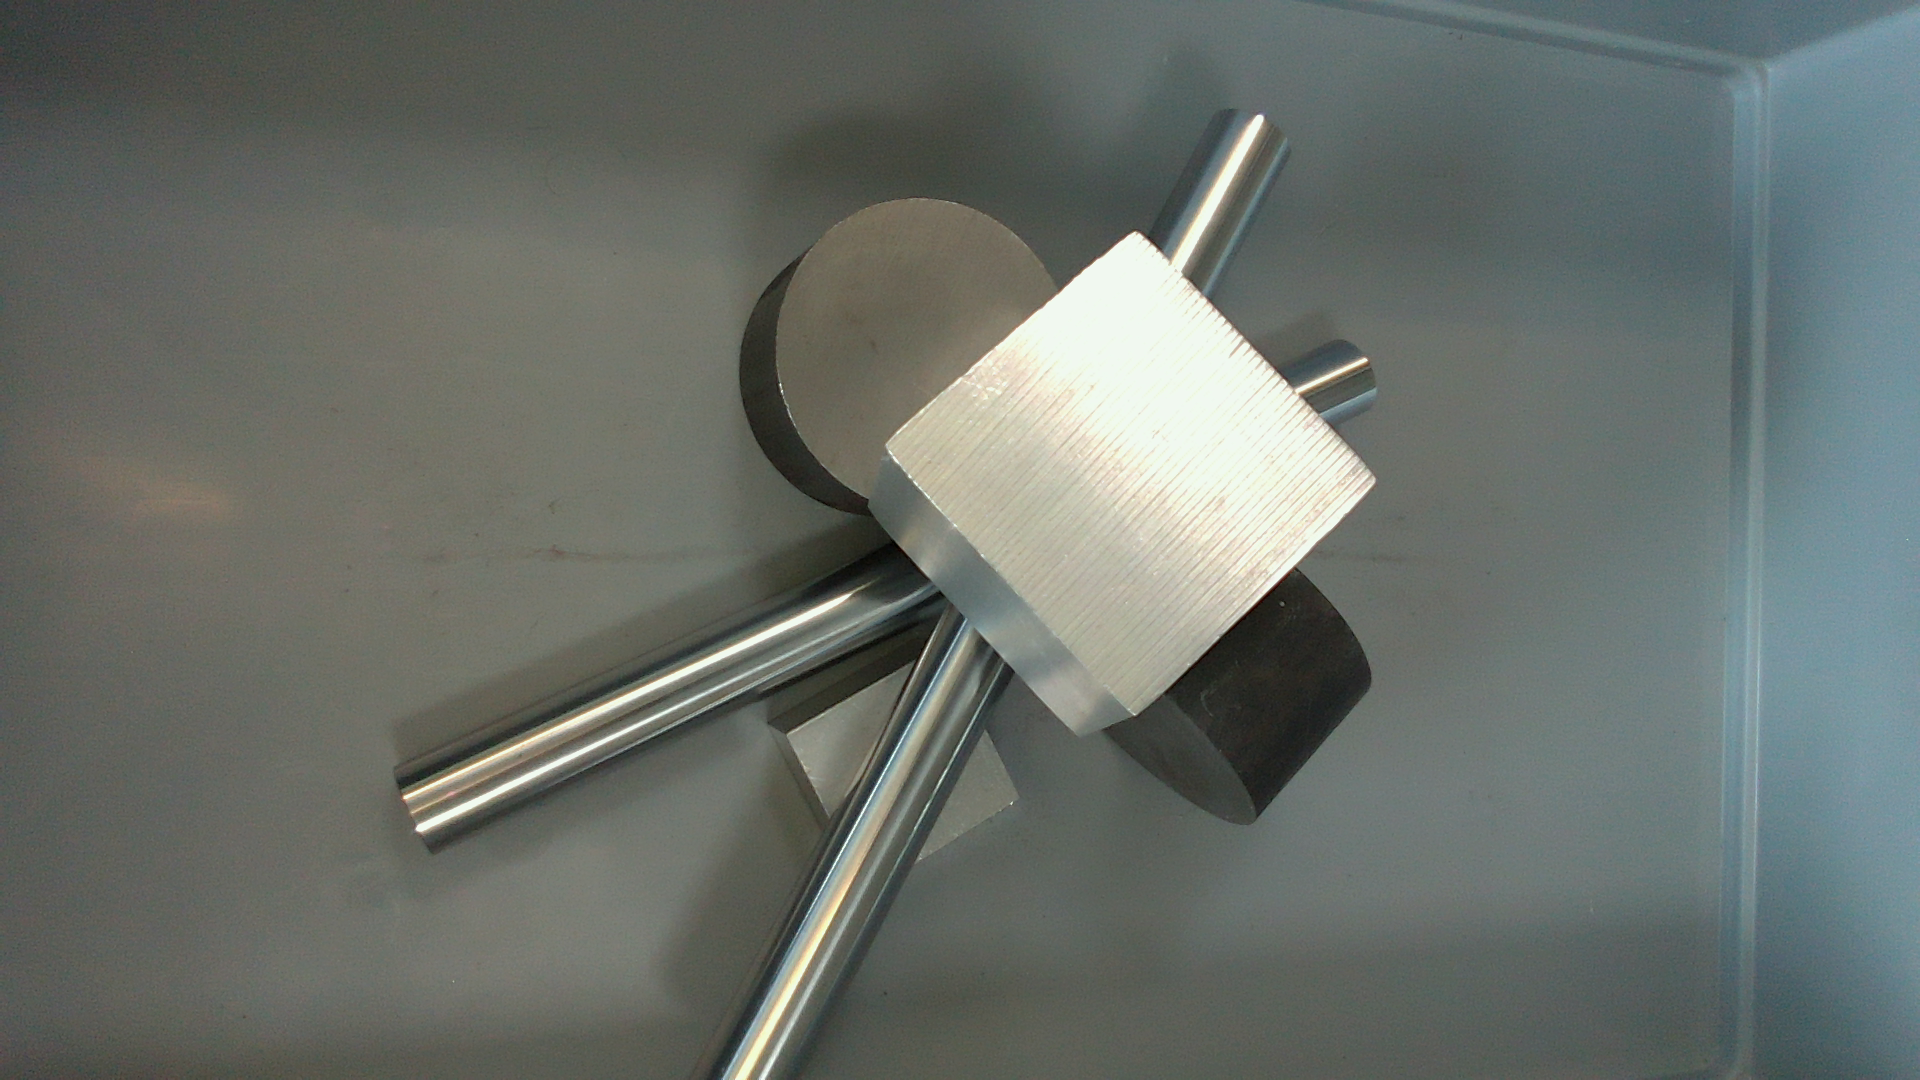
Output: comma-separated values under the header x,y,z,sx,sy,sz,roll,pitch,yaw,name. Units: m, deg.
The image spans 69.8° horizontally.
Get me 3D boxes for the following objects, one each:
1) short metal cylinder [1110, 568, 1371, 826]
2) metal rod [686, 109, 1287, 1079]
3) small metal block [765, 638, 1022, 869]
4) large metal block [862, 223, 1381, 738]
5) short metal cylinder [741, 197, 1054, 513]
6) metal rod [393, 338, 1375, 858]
x,y,z,sx,sy,sz,roll,pitch,yaw,name
0.067,0.034,0.388,0.050,0.080,0.080,-45,104,-13,short metal cylinder
0.012,0.013,0.371,0.025,0.025,0.300,32,79,-17,metal rod
-0.019,0.062,0.386,0.050,0.025,0.050,-30,100,-18,small metal block
0.035,-0.012,0.325,0.080,0.050,0.080,-41,86,-14,large metal block
-0.016,-0.047,0.373,0.080,0.050,0.080,0,90,-20,short metal cylinder
-0.006,0.008,0.390,0.301,0.025,0.025,-25,98,-18,metal rod
